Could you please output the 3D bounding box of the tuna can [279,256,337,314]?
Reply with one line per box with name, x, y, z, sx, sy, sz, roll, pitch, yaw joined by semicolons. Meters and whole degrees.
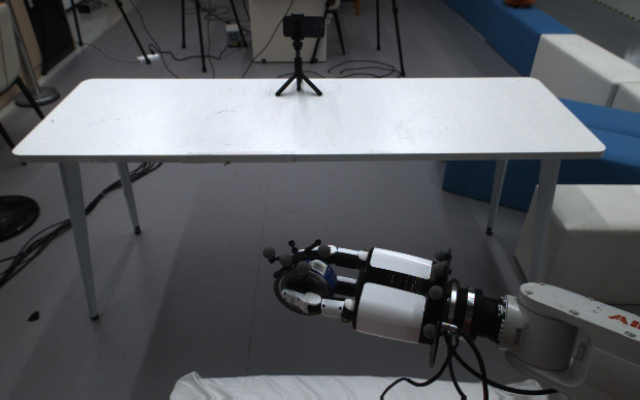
tuna can;-0.017;0.124;0.675;0.085;0.085;0.034;10;33;11
